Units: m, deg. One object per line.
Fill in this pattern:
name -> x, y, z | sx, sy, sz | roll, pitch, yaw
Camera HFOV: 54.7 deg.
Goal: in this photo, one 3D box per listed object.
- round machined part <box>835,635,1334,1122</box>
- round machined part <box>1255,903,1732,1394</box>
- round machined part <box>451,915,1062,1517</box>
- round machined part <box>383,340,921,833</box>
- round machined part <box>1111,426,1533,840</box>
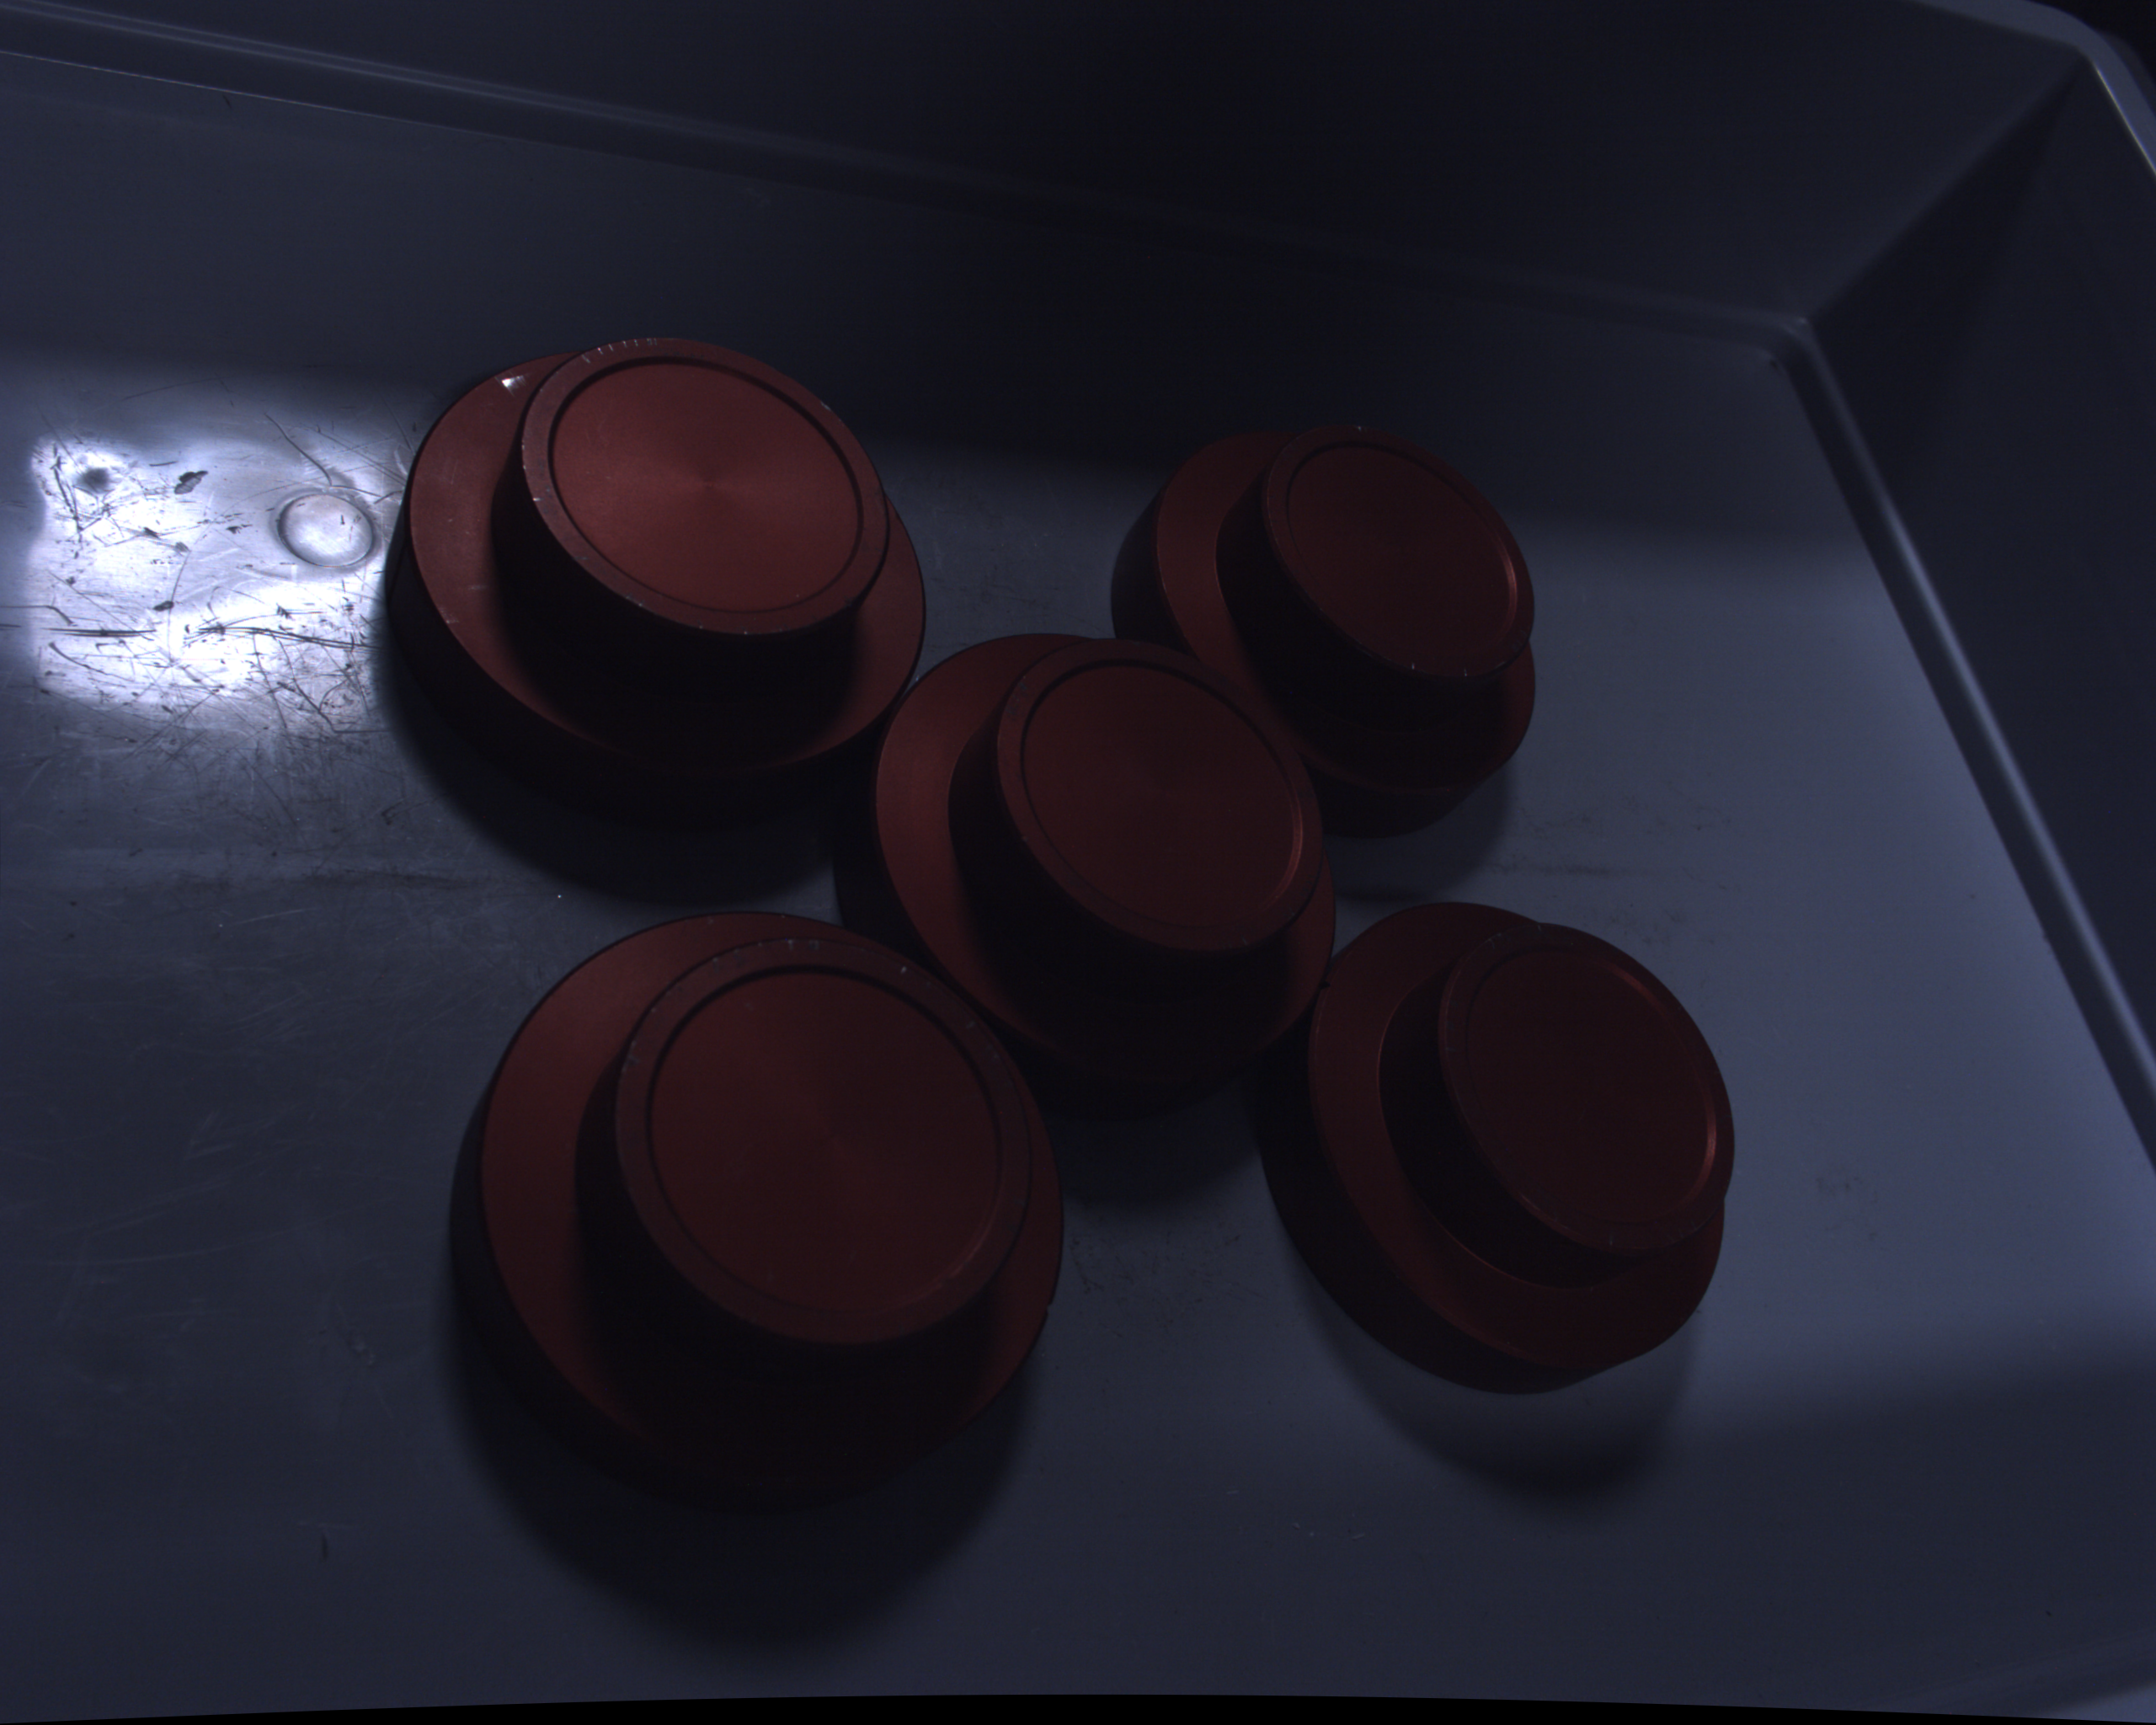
round machined part -> 0.007, -0.003, 0.399 | 0.099, 0.042, 0.098 | 14, 56, -21
round machined part -> 0.088, 0.051, 0.411 | 0.099, 0.042, 0.098 | 14, 56, -21
round machined part -> -0.047, 0.051, 0.337 | 0.099, 0.042, 0.098 | 14, 56, -21
round machined part -> -0.075, -0.058, 0.389 | 0.099, 0.042, 0.098 | 14, 56, -21
round machined part -> 0.060, -0.057, 0.462 | 0.099, 0.042, 0.098 | 14, 56, -21
